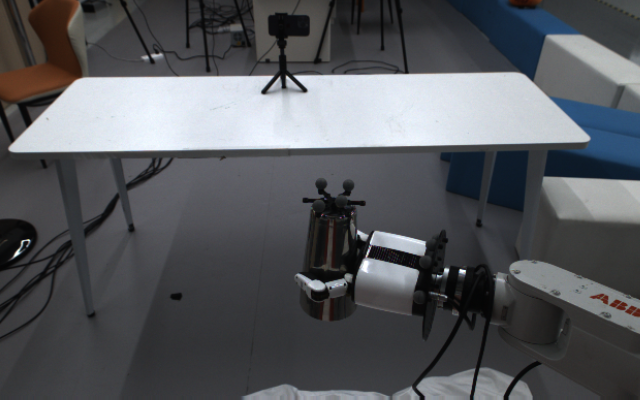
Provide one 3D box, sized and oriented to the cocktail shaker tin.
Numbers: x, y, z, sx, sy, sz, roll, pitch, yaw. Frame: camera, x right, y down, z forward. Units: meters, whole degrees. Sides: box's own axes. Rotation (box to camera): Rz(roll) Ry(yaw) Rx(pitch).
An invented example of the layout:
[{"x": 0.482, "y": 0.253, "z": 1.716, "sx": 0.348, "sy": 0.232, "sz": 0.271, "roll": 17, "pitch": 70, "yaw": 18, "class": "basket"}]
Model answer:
[{"x": 0.018, "y": 0.084, "z": 0.725, "sx": 0.093, "sy": 0.170, "sz": 0.093, "roll": 2, "pitch": 28, "yaw": -1, "class": "cocktail shaker tin"}]
